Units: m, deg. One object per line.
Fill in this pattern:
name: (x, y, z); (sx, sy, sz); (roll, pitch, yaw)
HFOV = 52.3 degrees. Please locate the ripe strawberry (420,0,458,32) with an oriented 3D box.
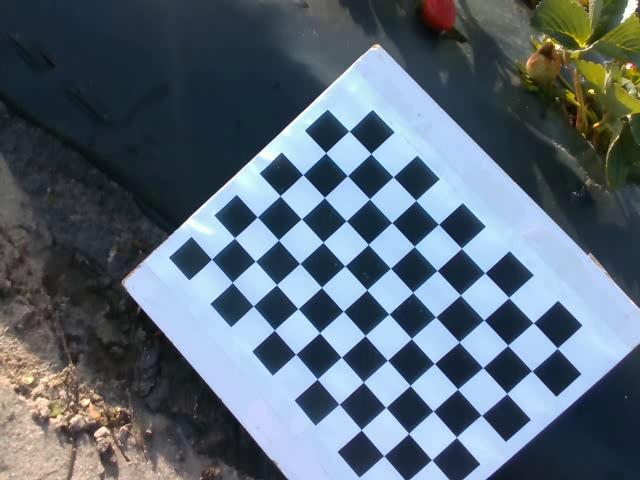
ripe strawberry: (0.103, -0.185, 0.537); (0.030, 0.045, 0.033); (-14, -38, 7)
